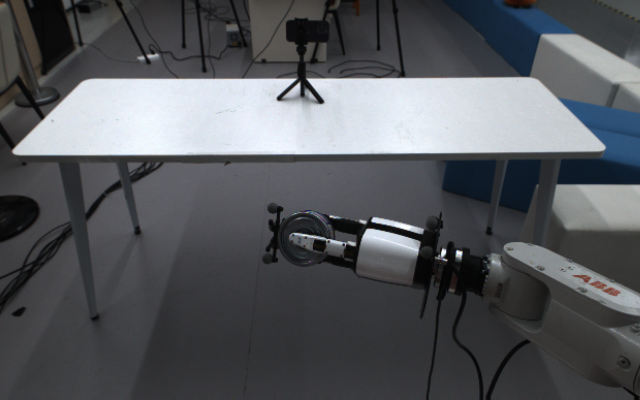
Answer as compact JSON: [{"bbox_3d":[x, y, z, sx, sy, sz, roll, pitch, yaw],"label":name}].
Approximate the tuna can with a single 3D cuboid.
[{"bbox_3d":[-0.020,0.057,0.745,0.085,0.085,0.034,10,2,11],"label":"tuna can"}]
